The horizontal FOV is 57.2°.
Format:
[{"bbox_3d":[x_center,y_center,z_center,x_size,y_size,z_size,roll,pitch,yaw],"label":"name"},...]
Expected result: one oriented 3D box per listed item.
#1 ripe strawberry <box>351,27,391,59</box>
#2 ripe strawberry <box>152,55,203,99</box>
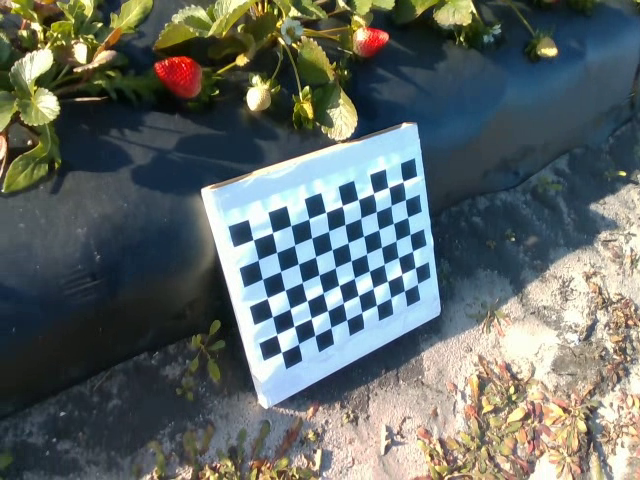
[{"bbox_3d":[0.053,-0.207,0.603,0.045,0.037,0.042,-8,35,34],"label":"ripe strawberry"},{"bbox_3d":[-0.125,-0.147,0.513,0.053,0.044,0.036,7,9,-42],"label":"ripe strawberry"}]
